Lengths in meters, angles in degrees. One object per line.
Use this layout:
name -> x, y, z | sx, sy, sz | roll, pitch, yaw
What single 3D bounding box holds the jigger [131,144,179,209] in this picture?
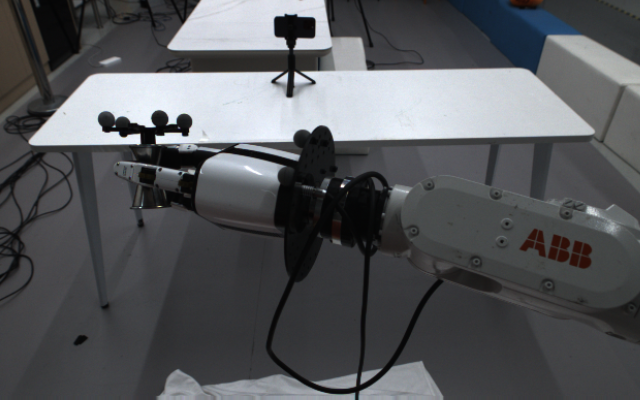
jigger -> -0.186, -0.025, 0.530 | 0.043, 0.071, 0.043 | -2, 3, 0
